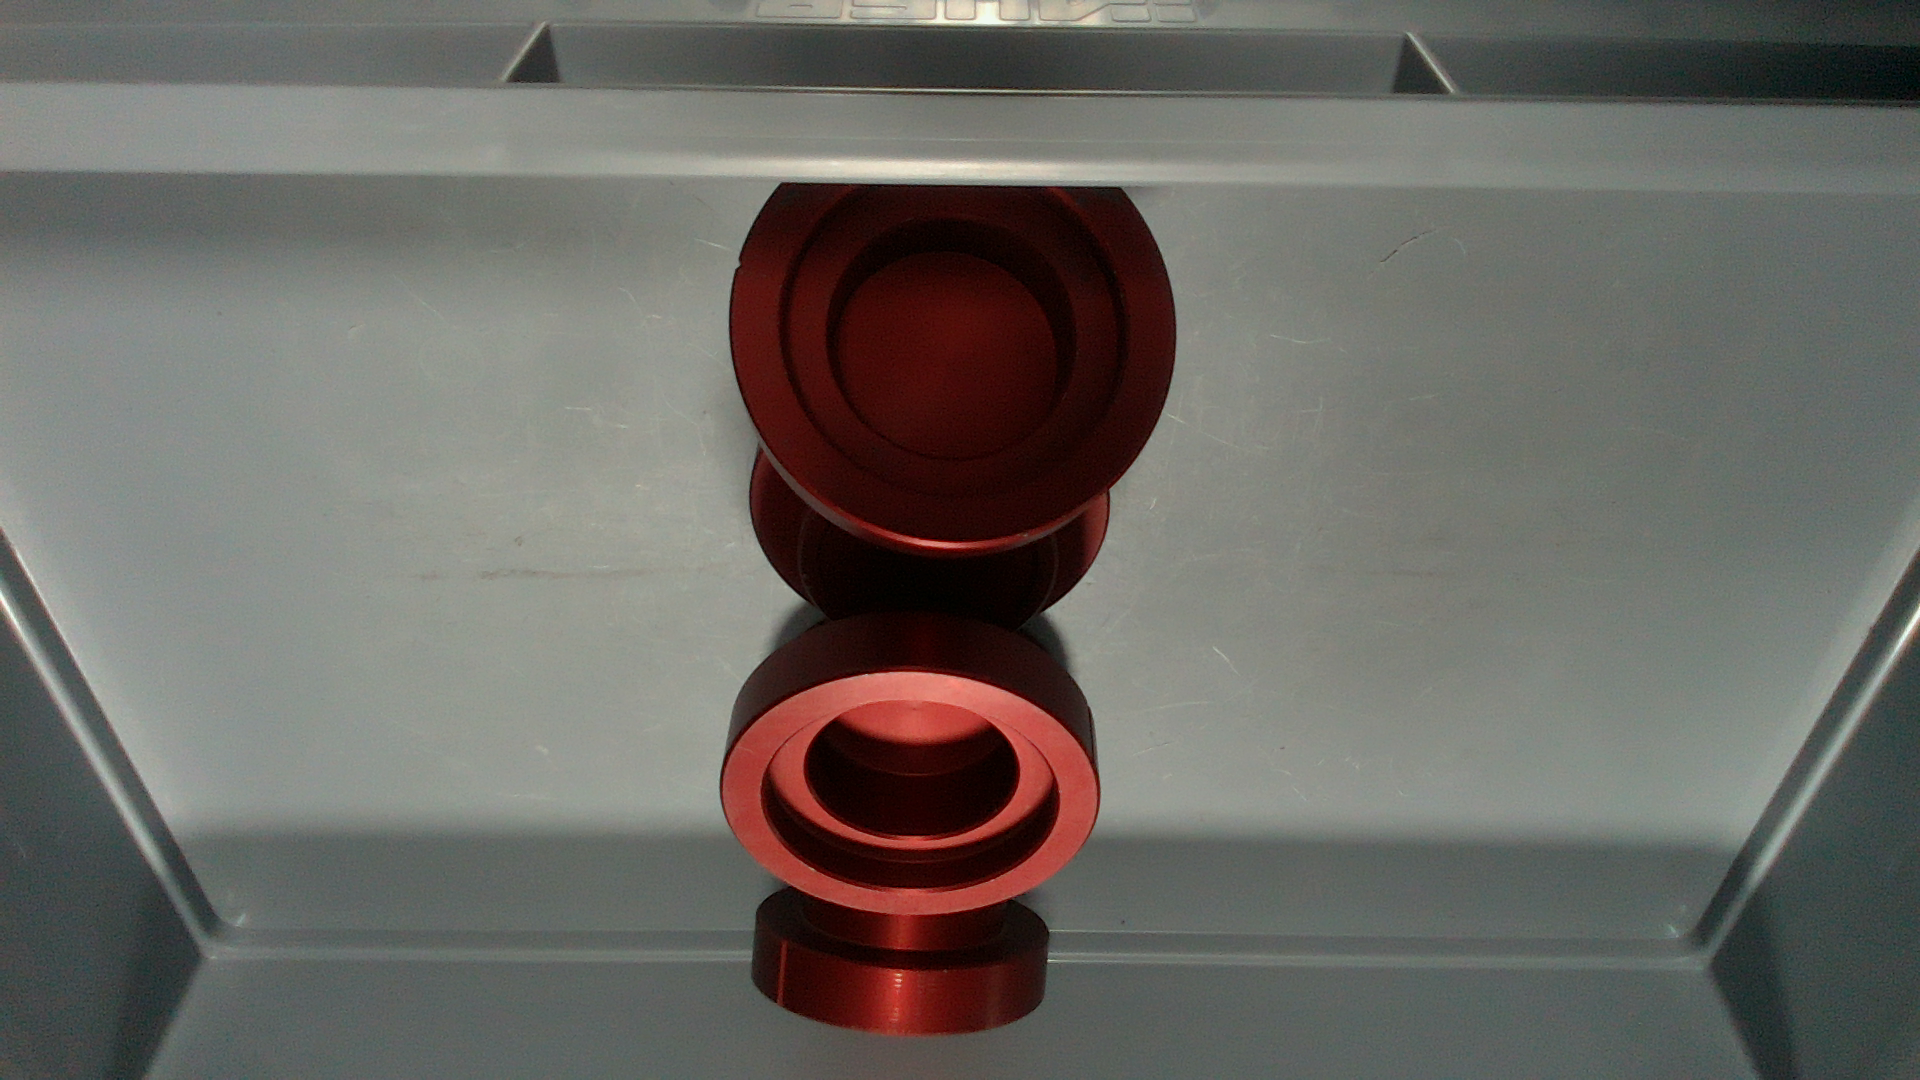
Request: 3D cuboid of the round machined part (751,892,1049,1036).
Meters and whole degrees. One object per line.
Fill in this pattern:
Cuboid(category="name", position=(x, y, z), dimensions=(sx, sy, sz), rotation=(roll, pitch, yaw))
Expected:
Cuboid(category="round machined part", position=(-0.019, 0.126, 0.460), dimensions=(0.098, 0.098, 0.042), rotation=(5, 92, -4))

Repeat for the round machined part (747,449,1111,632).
Cuboid(category="round machined part", position=(-0.008, -0.007, 0.371), dimensions=(0.098, 0.042, 0.098), rotation=(0, 130, 0))

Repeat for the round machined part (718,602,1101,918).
Cuboid(category="round machined part", position=(-0.013, 0.055, 0.368), dimensions=(0.098, 0.042, 0.098), rotation=(0, 130, 0))

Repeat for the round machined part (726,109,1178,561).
Cuboid(category="round machined part", position=(-0.003, -0.044, 0.317), dimensions=(0.098, 0.098, 0.042), rotation=(5, 172, -5))

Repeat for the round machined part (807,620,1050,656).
Cuboid(category="round machined part", position=(-0.014, 0.068, 0.434), dimensions=(0.098, 0.042, 0.098), rotation=(0, 130, 0))
